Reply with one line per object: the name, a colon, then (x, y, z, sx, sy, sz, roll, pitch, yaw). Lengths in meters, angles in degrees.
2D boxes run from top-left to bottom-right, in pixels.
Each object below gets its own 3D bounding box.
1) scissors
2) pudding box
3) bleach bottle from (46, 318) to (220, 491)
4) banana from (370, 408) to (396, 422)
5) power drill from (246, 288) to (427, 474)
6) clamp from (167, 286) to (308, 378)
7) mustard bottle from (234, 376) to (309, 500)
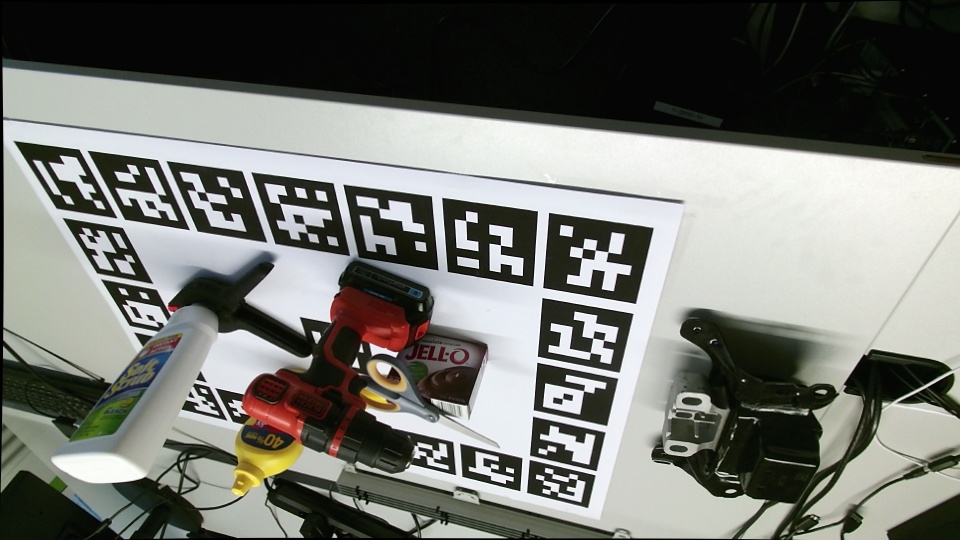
scissors: (-0.056, 0.190, 0.634, 0.203, 0.016, 0.088, 30, 127, 0)
pudding box: (-0.048, 0.145, 0.680, 0.114, 0.089, 0.039, 12, 137, 10)
bleach bottle: (-0.412, 0.148, 0.683, 0.103, 0.249, 0.068, -11, 127, 18)
banana: (-0.170, 0.233, 0.817, 0.198, 0.038, 0.074, -28, 131, 34)
power drill: (-0.127, 0.116, 0.582, 0.185, 0.186, 0.057, 17, 137, 2)
clamp: (-0.351, 0.078, 0.744, 0.203, 0.036, 0.165, 4, 126, 18)
mustard bottle: (-0.292, 0.245, 0.782, 0.096, 0.191, 0.058, 20, 131, 4)
